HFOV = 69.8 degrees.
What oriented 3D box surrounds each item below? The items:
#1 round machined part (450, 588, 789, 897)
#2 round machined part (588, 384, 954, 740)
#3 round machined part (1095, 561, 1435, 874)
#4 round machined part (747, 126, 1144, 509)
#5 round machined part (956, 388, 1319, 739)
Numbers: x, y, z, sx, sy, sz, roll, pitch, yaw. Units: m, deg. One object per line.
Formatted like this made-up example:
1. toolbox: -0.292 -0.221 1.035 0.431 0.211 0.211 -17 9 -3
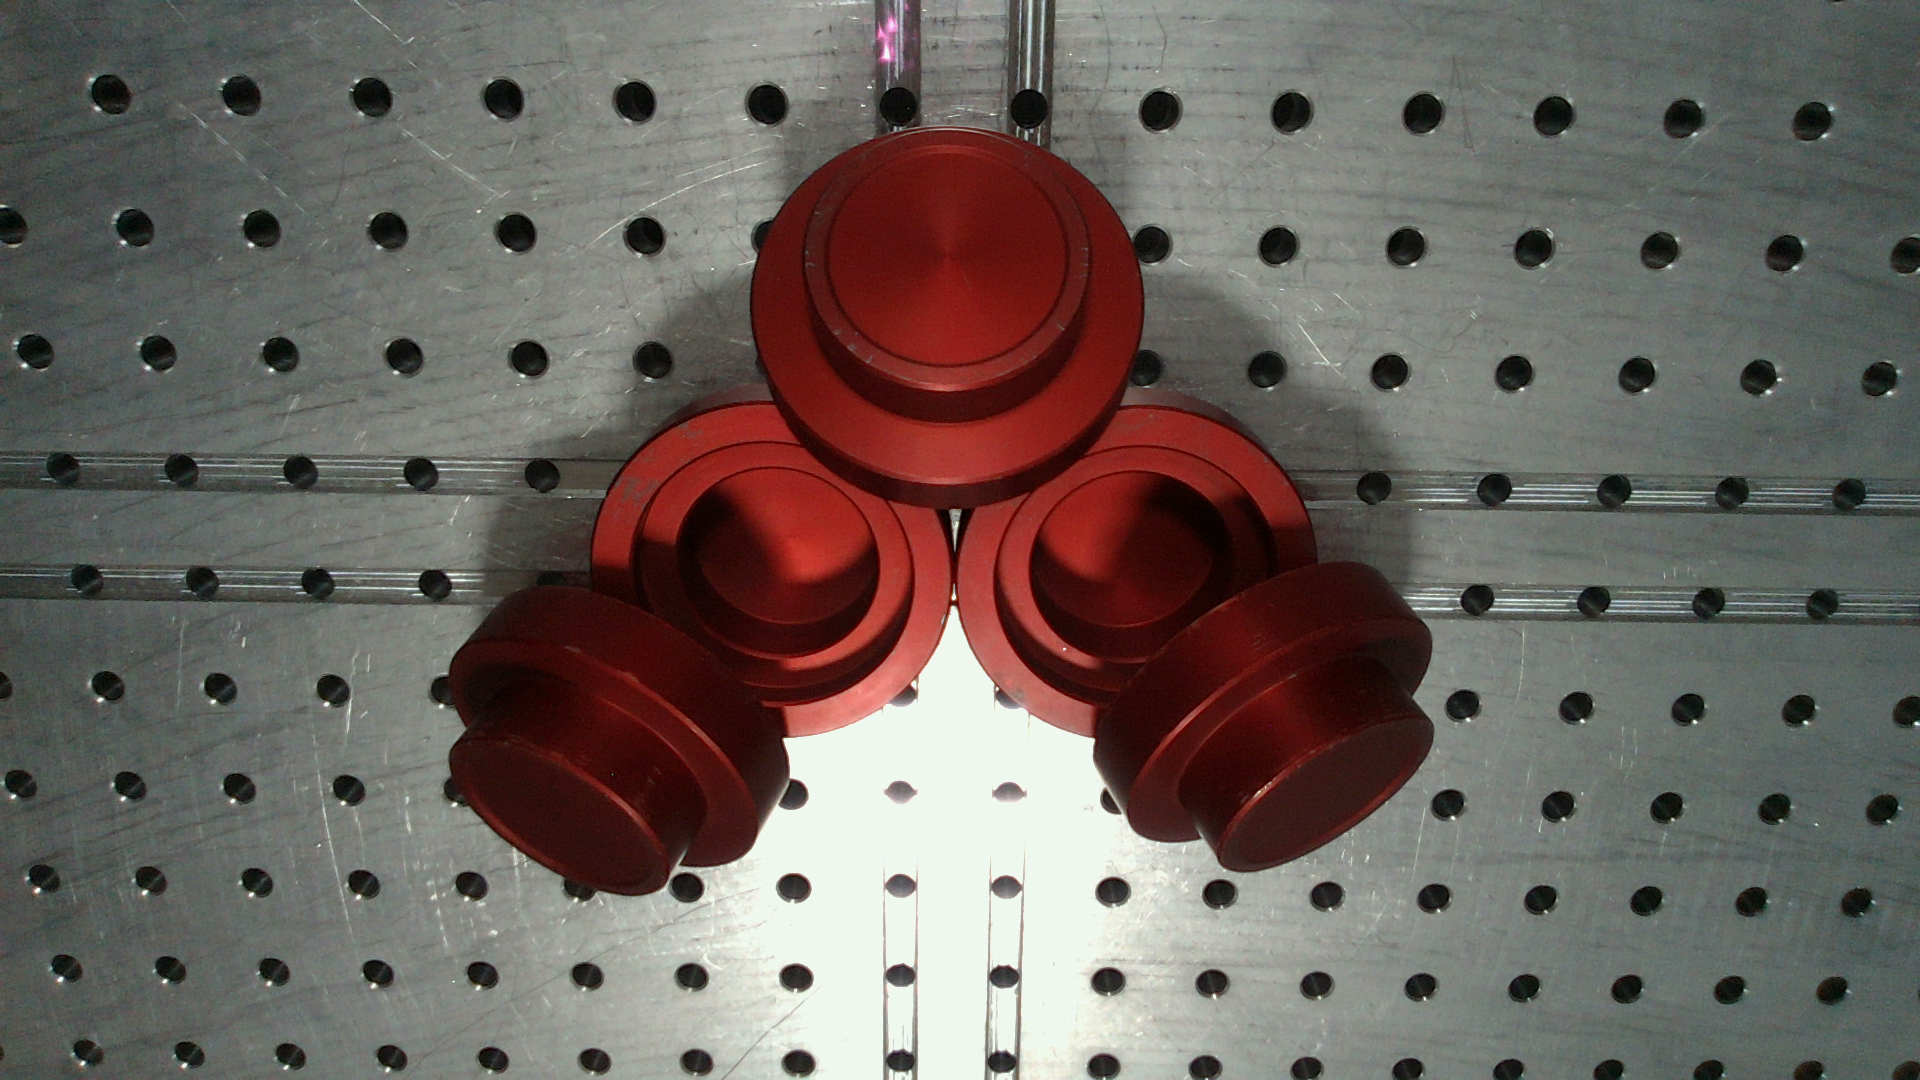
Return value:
1. round machined part: -0.101 0.062 0.385 0.098 0.042 0.098 17 139 15
2. round machined part: -0.051 0.003 0.387 0.098 0.042 0.098 0 110 0
3. round machined part: 0.090 0.055 0.379 0.098 0.042 0.098 -20 143 -16
4. round machined part: -0.003 -0.060 0.338 0.098 0.042 0.098 0 72 0
5. round machined part: 0.048 0.004 0.389 0.098 0.042 0.098 0 110 0
